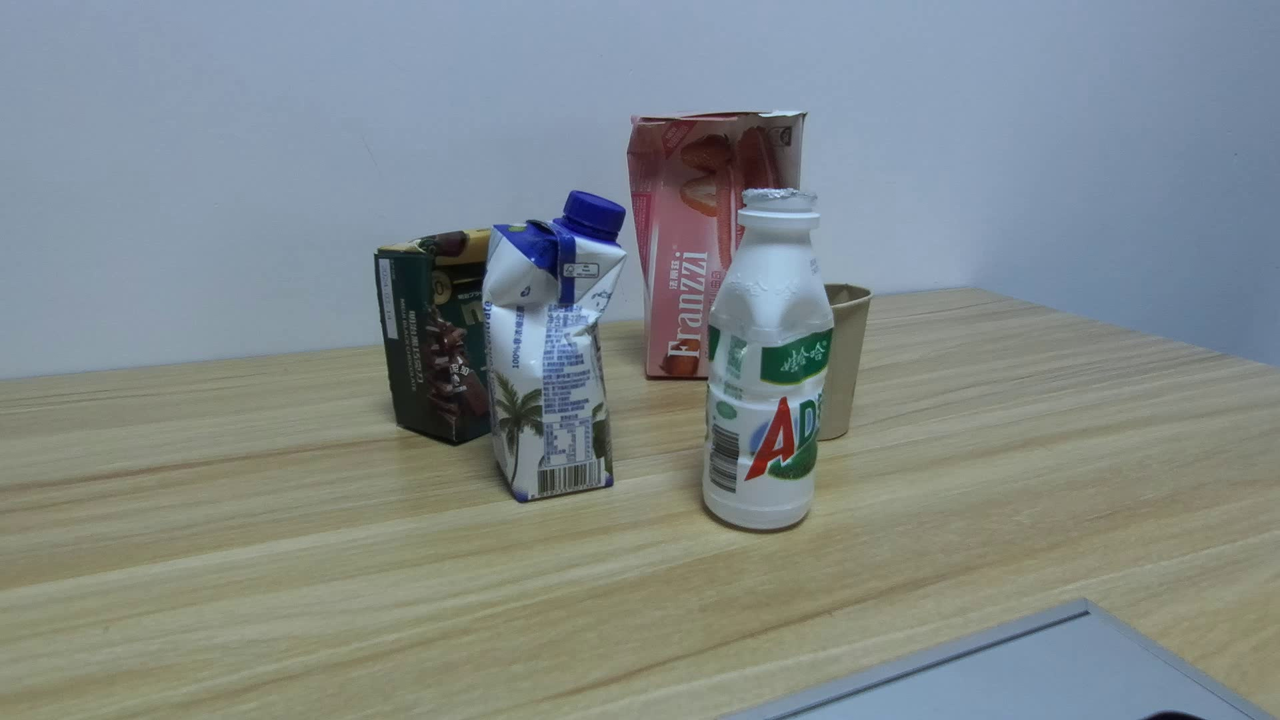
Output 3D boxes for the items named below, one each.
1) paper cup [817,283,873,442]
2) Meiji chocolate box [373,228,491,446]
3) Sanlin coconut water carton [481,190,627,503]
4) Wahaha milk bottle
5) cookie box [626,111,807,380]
[{"bbox_3d":[0.105,0.000,0.423,0.072,0.084,0.066,-3,18,-8],"label":"paper cup"},{"bbox_3d":[-0.097,-0.016,0.445,0.058,0.110,0.114,4,12,34],"label":"Meiji chocolate box"},{"bbox_3d":[-0.042,-0.008,0.346,0.070,0.143,0.060,-6,20,-21],"label":"Sanlin coconut water carton"},{"bbox_3d":[0.058,0.002,0.323,0.055,0.149,0.055,1,13,0],"label":"Wahaha milk bottle"},{"bbox_3d":[0.048,-0.076,0.492,0.118,0.184,0.055,1,14,4],"label":"cookie box"}]
